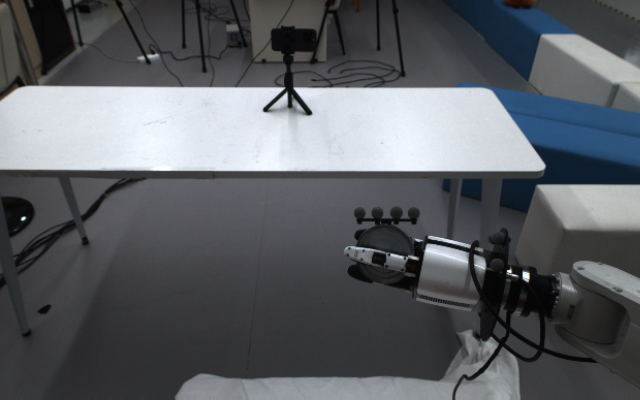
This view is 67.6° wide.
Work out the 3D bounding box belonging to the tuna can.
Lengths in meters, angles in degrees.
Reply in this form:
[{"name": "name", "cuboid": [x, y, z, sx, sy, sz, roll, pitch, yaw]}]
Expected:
[{"name": "tuna can", "cuboid": [0.097, 0.076, 0.705, 0.085, 0.085, 0.034, 16, 1, 19]}]
